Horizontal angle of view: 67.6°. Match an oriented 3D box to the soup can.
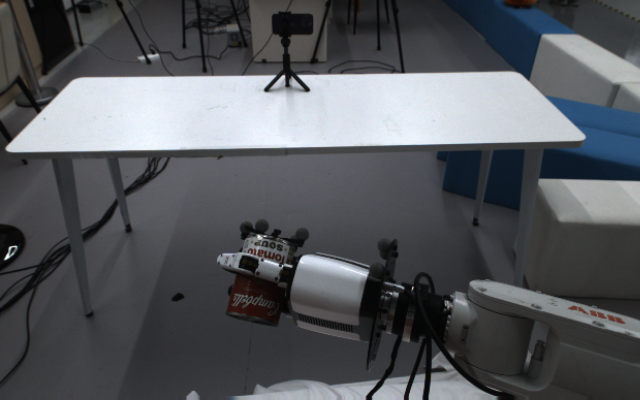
[{"bbox_3d":[-0.072,0.102,0.608,0.067,0.067,0.101,9,71,9],"label":"soup can"}]
